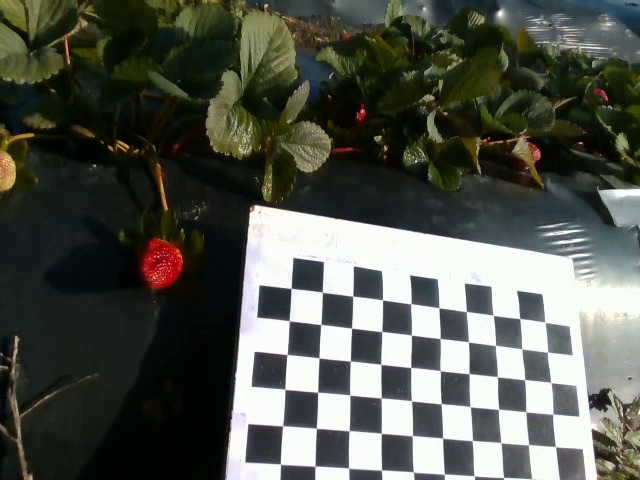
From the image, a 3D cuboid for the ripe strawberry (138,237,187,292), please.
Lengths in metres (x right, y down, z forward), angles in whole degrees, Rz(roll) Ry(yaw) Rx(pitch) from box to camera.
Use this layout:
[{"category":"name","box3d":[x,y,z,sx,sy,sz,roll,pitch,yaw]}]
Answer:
[{"category":"ripe strawberry","box3d":[-0.041,0.005,0.165,0.015,0.015,0.023,17,14,-14]}]
